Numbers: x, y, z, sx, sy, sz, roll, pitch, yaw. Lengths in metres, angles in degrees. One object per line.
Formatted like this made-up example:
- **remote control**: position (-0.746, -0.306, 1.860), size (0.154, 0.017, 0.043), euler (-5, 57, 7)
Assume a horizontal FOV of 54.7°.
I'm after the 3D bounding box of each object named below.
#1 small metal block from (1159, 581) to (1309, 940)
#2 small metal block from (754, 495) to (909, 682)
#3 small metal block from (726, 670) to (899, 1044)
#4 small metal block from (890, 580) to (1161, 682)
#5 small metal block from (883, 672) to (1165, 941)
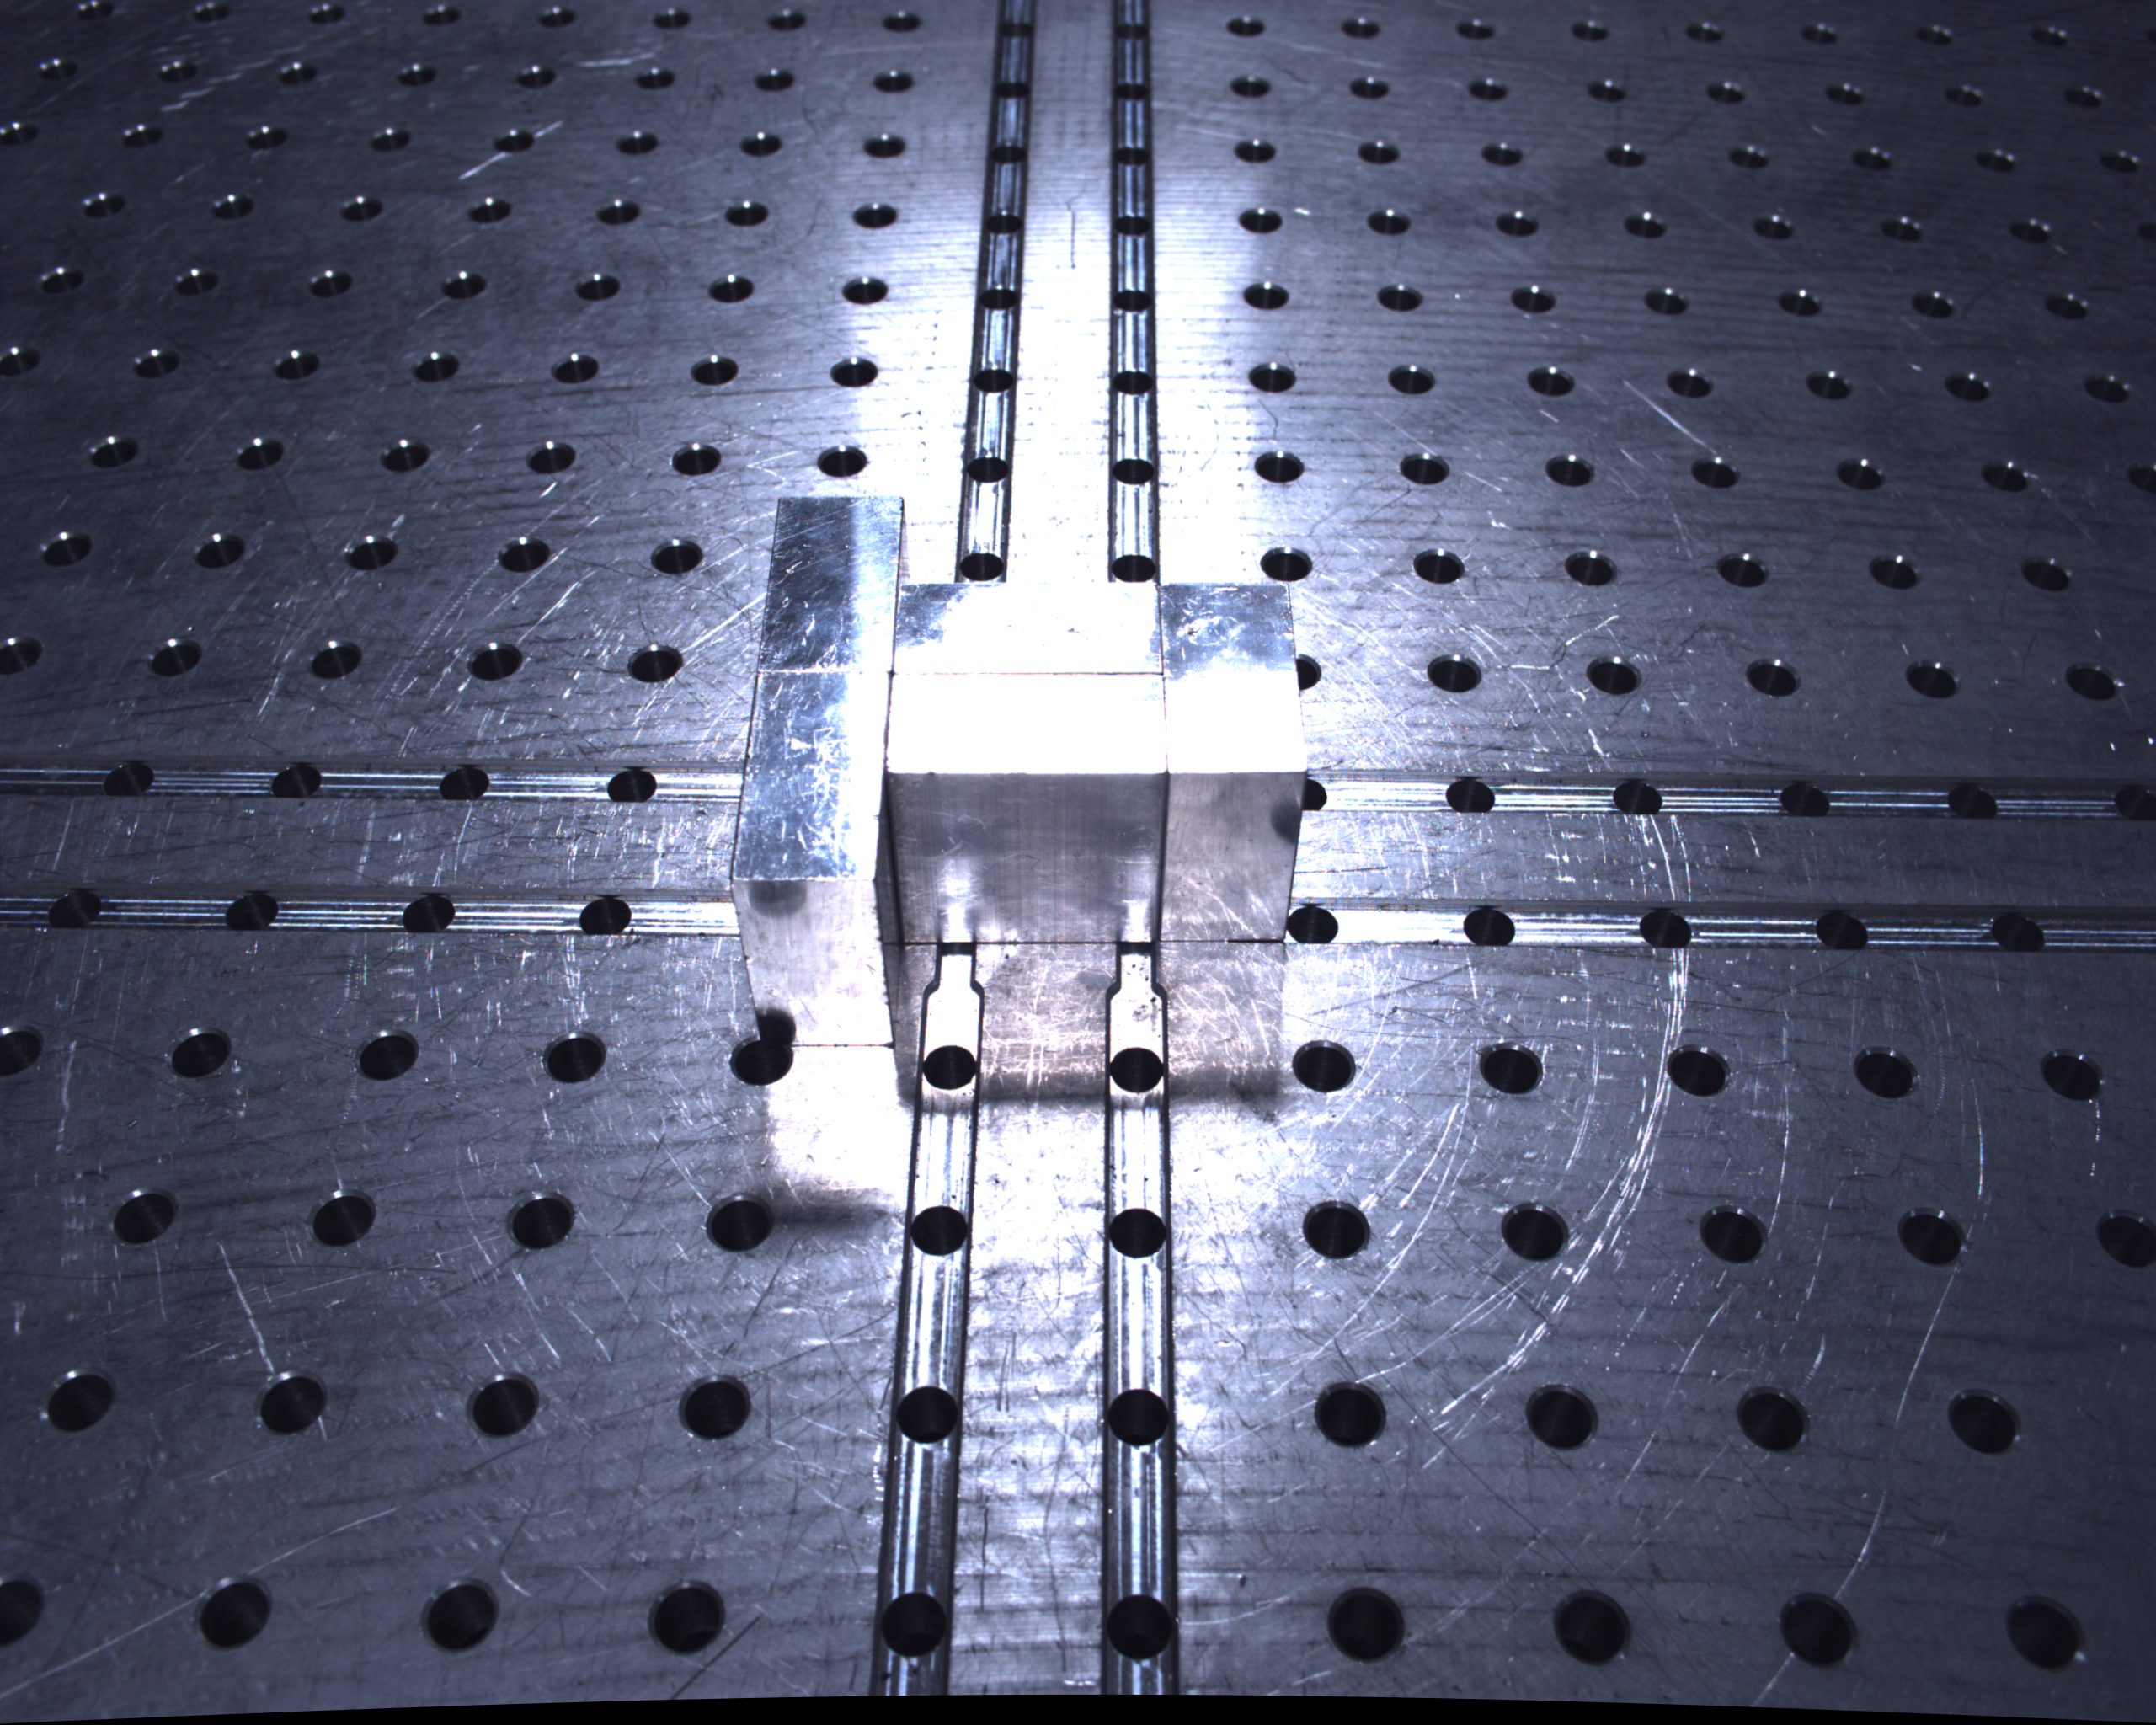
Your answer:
- **small metal block**: position (0.028, -0.020, 0.407), size (0.025, 0.050, 0.050), euler (0, 50, 0)
- **small metal block**: position (-0.048, -0.039, 0.423), size (0.025, 0.050, 0.050), euler (0, 50, 0)
- **small metal block**: position (-0.048, -0.001, 0.390), size (0.025, 0.050, 0.050), euler (0, 50, 0)
- **small metal block**: position (-0.010, -0.029, 0.415), size (0.050, 0.050, 0.025), euler (0, 50, -1)
- **small metal block**: position (-0.010, -0.010, 0.399), size (0.050, 0.050, 0.025), euler (0, 50, -1)
